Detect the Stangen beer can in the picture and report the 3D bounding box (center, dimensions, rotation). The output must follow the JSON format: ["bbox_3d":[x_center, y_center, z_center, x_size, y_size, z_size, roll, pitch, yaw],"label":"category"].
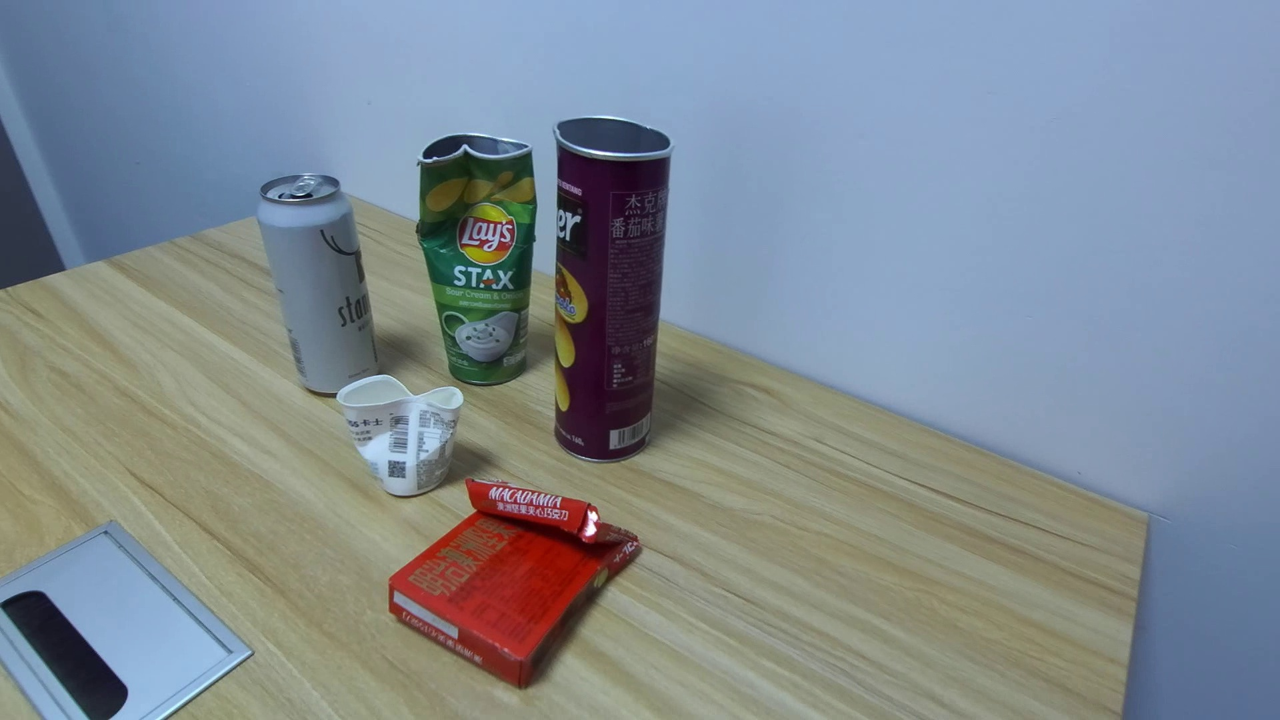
[{"bbox_3d":[-0.250,-0.056,0.557,0.067,0.171,0.067,3,34,-2],"label":"Stangen beer can"}]

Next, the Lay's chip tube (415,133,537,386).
[{"bbox_3d":[-0.130,-0.079,0.576,0.077,0.201,0.069,-23,41,-31],"label":"Lay's chip tube"}]

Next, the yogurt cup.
[{"bbox_3d":[-0.162,0.051,0.492,0.075,0.071,0.053,-13,39,-20],"label":"yogurt cup"}]

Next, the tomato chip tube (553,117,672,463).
[{"bbox_3d":[-0.022,-0.041,0.491,0.076,0.234,0.080,3,34,0],"label":"tomato chip tube"}]

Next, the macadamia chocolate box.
[{"bbox_3d":[-0.080,0.121,0.431,0.111,0.056,0.127,5,33,32],"label":"macadamia chocolate box"}]
